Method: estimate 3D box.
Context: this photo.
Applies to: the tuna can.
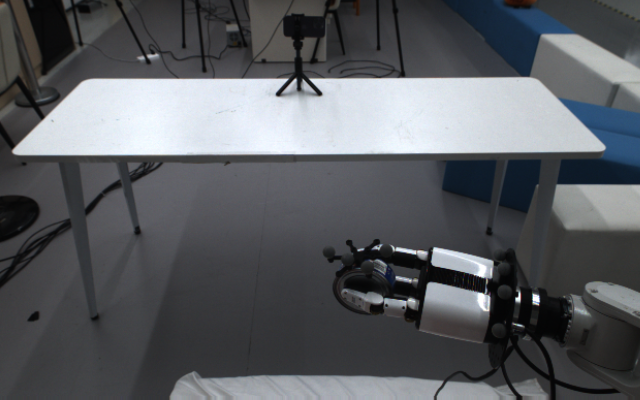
[{"bbox_3d":[0.065,0.118,0.679,0.085,0.085,0.034,10,33,11],"label":"tuna can"}]
